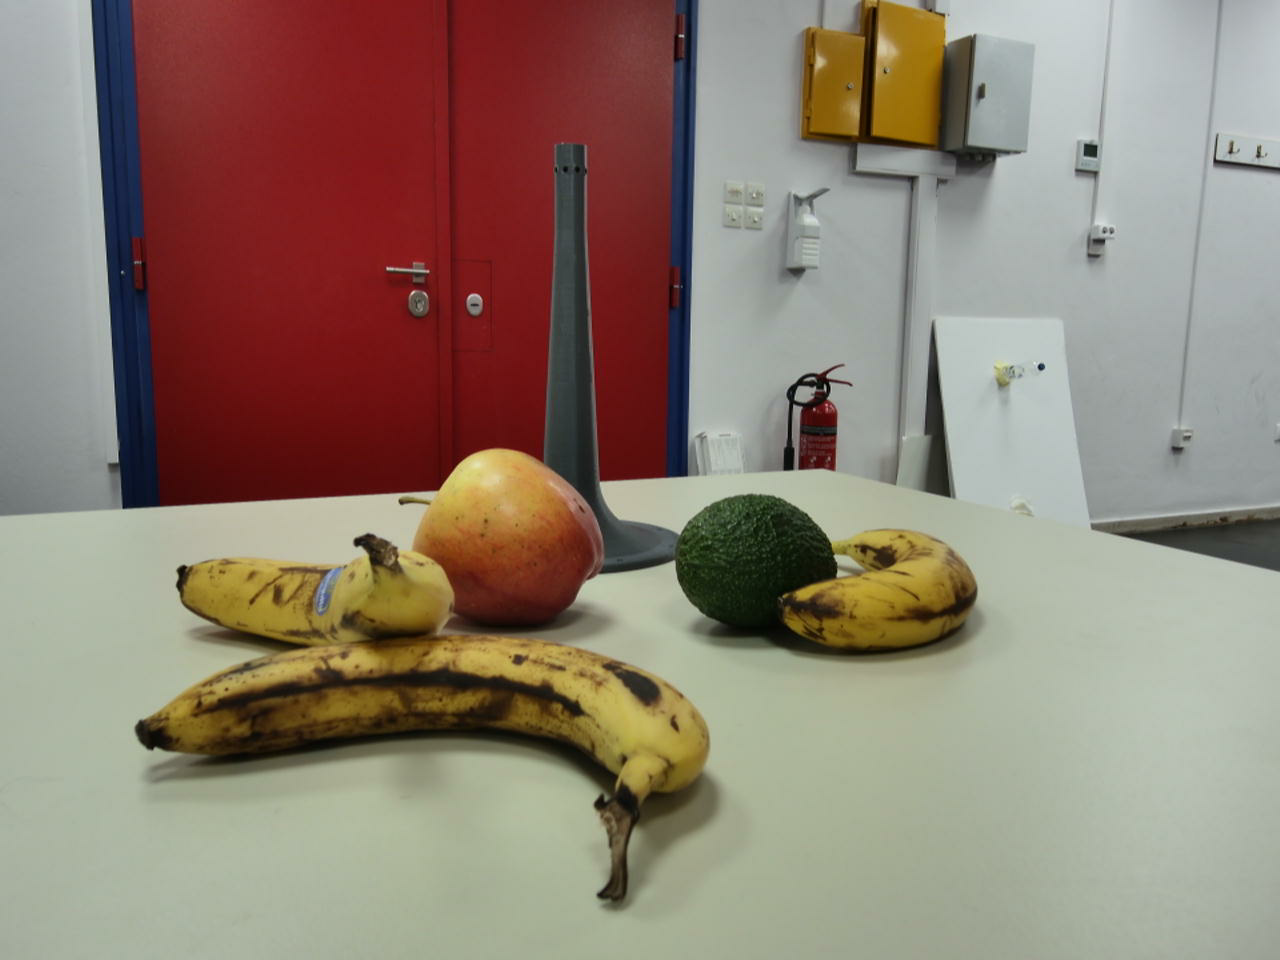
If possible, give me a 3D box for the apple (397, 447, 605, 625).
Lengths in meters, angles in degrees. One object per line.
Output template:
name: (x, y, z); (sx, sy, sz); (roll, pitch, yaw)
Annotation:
apple: (-0.067, 0.028, 0.489); (0.093, 0.084, 0.086); (4, 7, 29)
